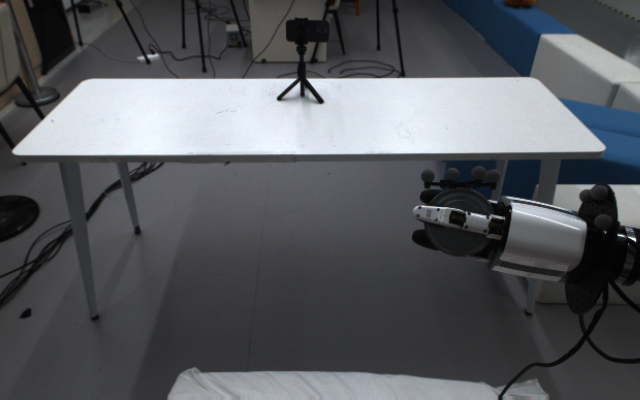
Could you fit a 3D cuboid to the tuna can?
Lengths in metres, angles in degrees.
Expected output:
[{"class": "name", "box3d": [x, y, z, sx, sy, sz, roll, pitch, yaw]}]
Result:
[{"class": "tuna can", "box3d": [0.178, 0.027, 0.615, 0.085, 0.085, 0.034, 13, 0, 15]}]
